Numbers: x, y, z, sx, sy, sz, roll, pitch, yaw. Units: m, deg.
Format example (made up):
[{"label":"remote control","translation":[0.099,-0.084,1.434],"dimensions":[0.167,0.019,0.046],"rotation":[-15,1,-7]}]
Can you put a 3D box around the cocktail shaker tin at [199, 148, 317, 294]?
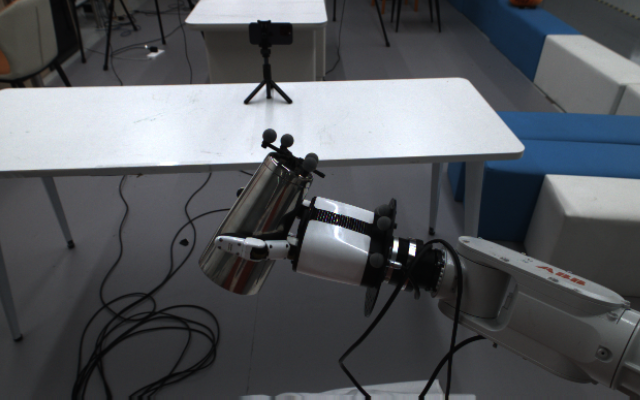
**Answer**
[{"label":"cocktail shaker tin","translation":[-0.078,0.026,0.625],"dimensions":[0.093,0.170,0.093],"rotation":[28,13,-7]}]
